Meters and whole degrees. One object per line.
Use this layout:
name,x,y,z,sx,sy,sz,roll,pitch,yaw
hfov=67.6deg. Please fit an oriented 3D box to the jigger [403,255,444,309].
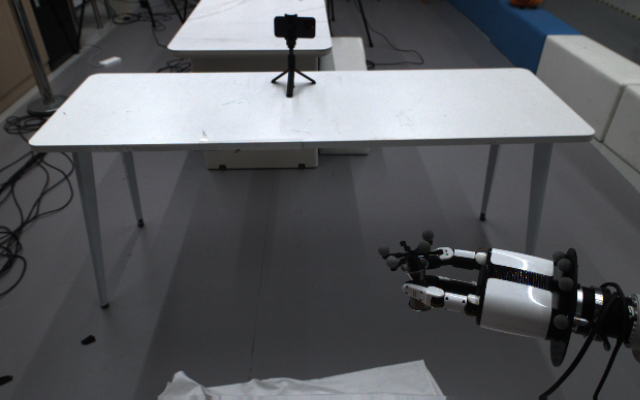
jigger,0.146,0.123,0.714,0.043,0.071,0.043,-14,21,6
